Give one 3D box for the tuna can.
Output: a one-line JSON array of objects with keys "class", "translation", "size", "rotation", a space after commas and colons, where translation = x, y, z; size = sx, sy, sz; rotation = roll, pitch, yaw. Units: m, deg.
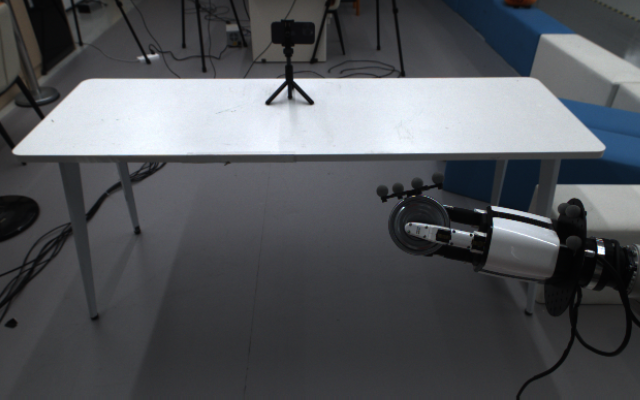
[{"class": "tuna can", "translation": [0.142, 0.033, 0.682], "size": [0.085, 0.085, 0.034], "rotation": [12, 3, 14]}]
